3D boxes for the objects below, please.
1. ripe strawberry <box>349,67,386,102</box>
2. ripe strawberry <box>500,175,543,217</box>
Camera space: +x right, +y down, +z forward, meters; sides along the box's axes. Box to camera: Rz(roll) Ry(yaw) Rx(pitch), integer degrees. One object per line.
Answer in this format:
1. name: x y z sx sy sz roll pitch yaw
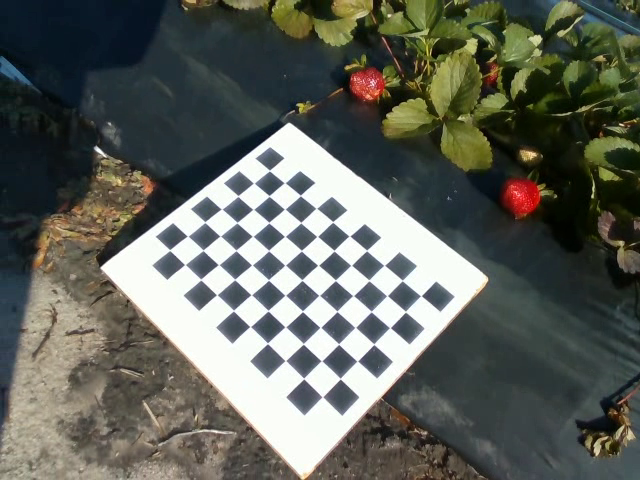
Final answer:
1. ripe strawberry: 0.050 -0.174 0.686 0.043 0.042 0.053 -47 -21 26
2. ripe strawberry: 0.192 -0.044 0.609 0.043 0.043 0.050 -29 -30 30
